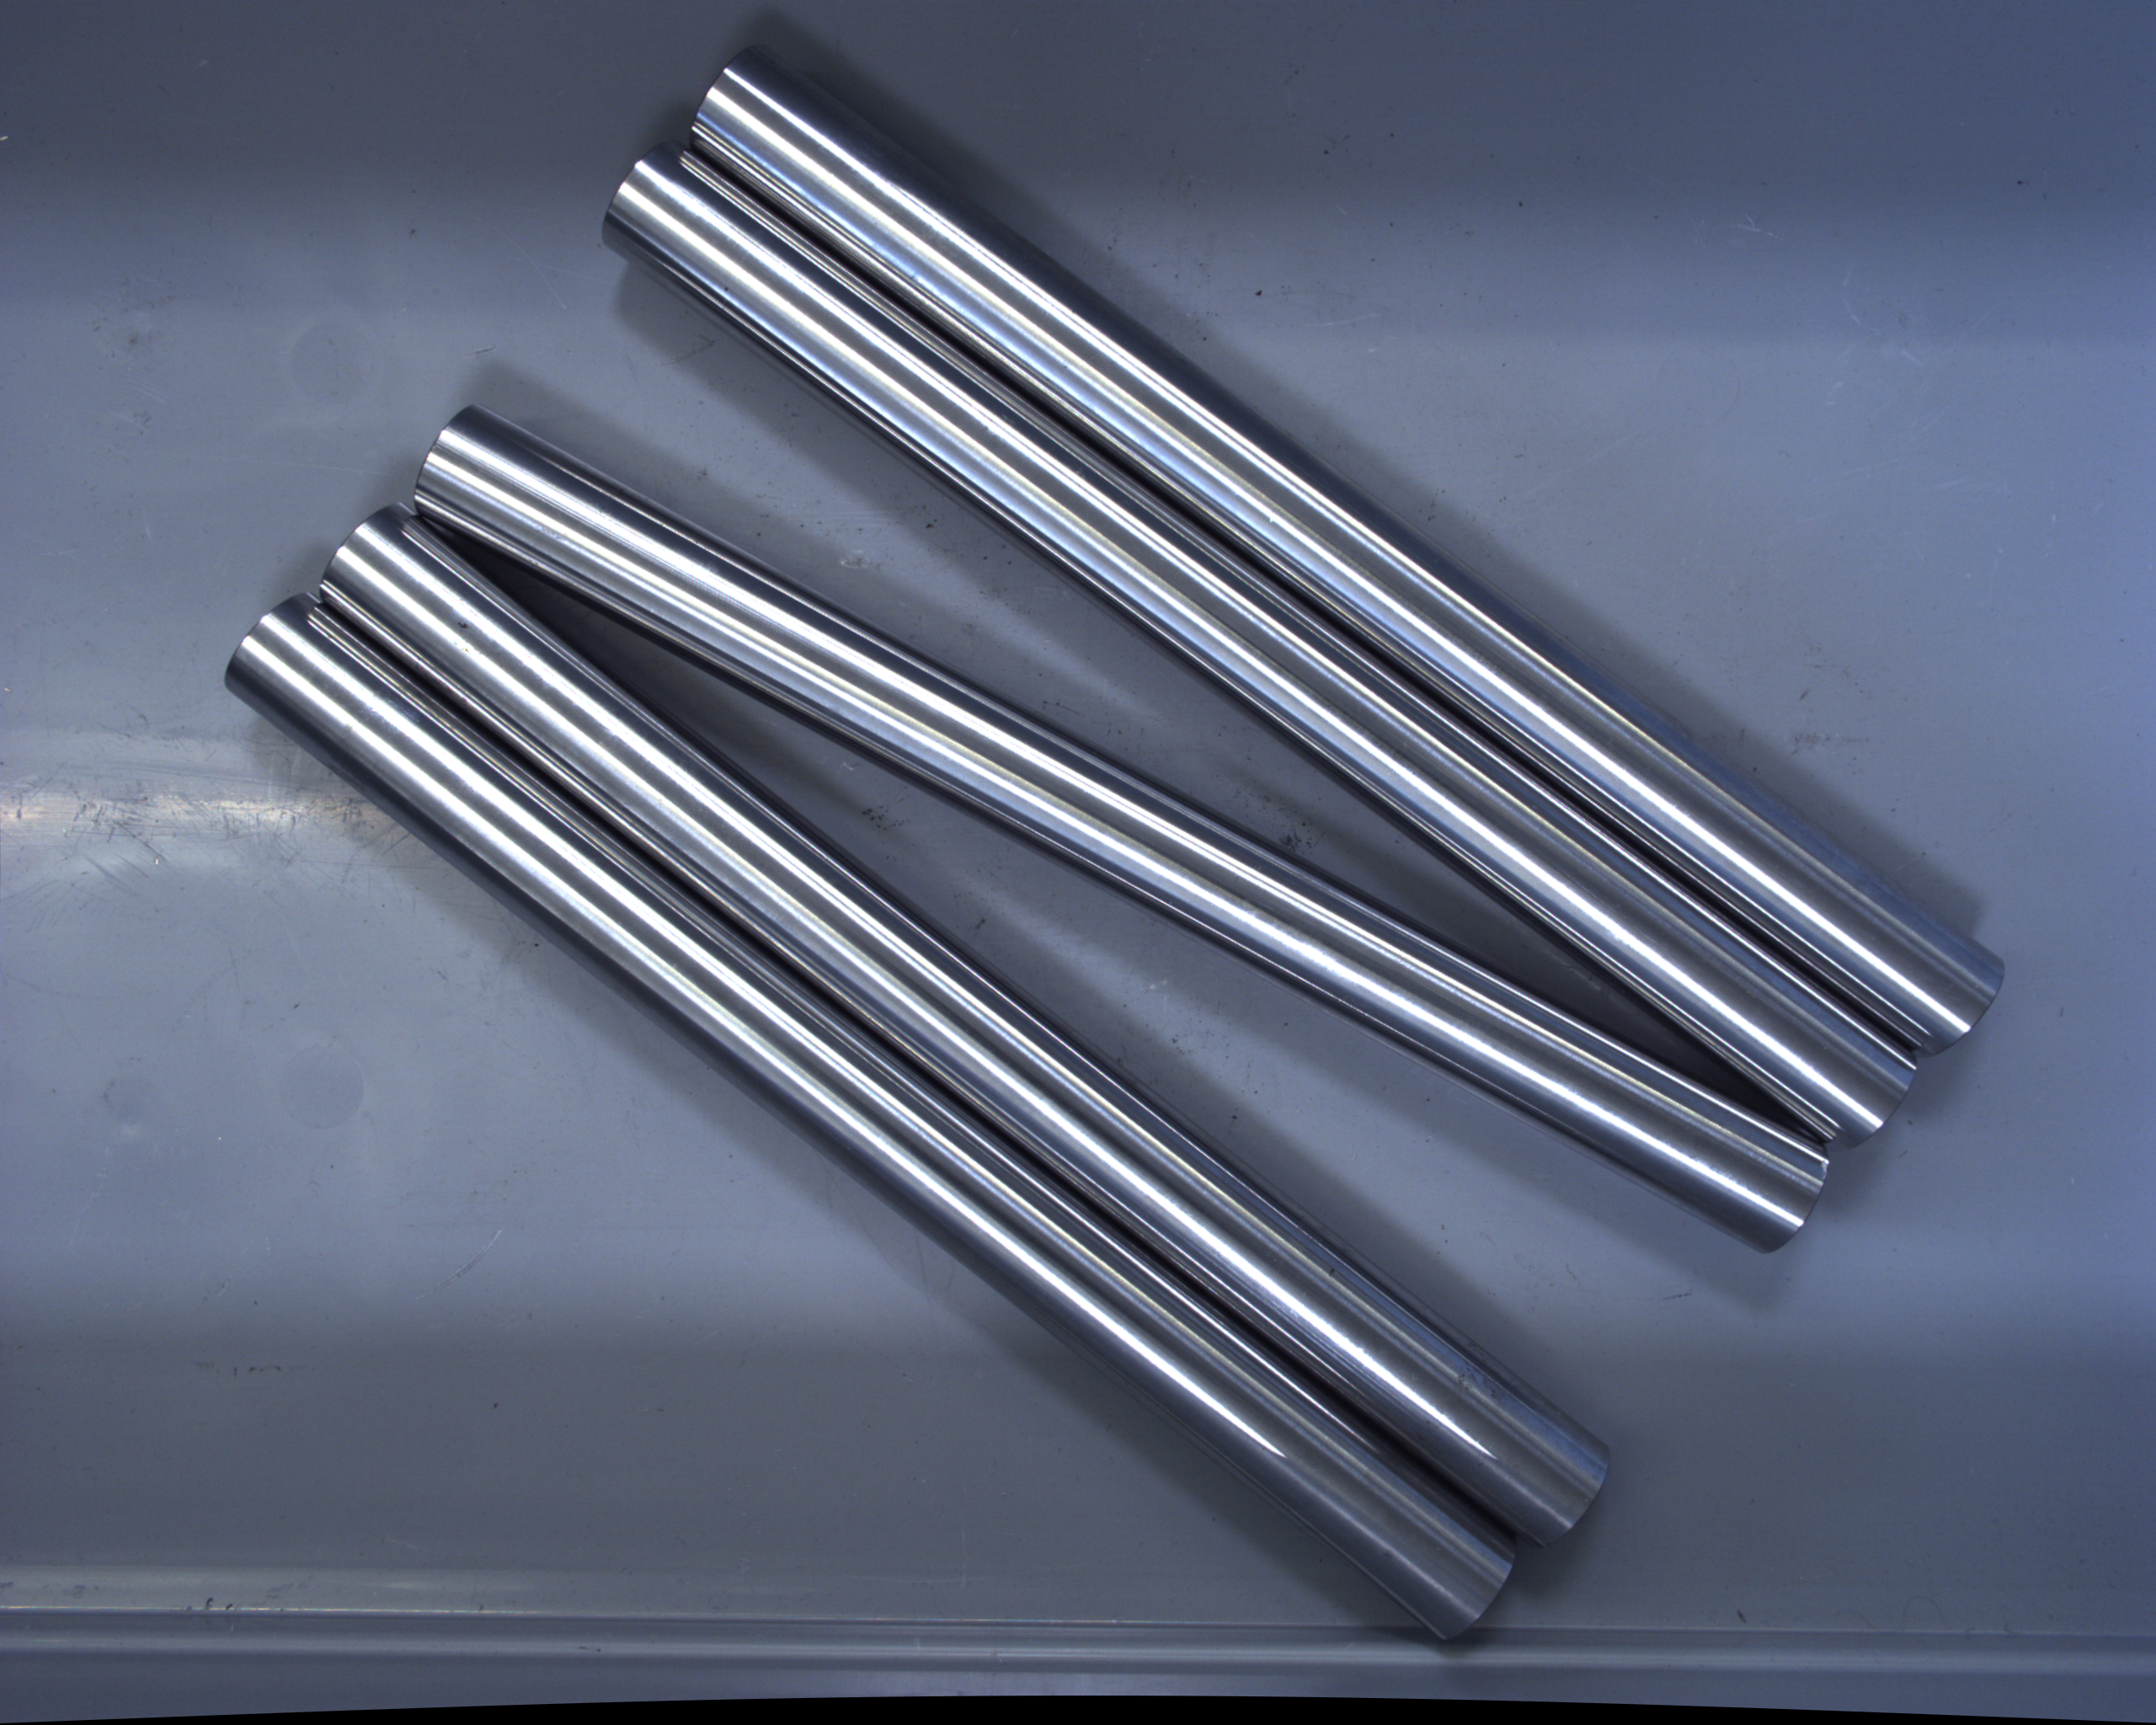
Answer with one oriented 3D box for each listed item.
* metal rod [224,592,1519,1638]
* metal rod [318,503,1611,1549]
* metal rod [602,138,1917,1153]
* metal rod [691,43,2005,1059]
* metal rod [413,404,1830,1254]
[{"bbox_3d":[-0.040,0.049,0.410,0.300,0.025,0.025,38,90,0],"label":"metal rod"},{"bbox_3d":[-0.022,0.032,0.410,0.300,0.025,0.025,38,90,0],"label":"metal rod"},{"bbox_3d":[0.036,-0.042,0.410,0.301,0.025,0.025,36,90,0],"label":"metal rod"},{"bbox_3d":[0.053,-0.061,0.410,0.301,0.025,0.025,36,90,0],"label":"metal rod"},{"bbox_3d":[0.009,-0.006,0.410,0.301,0.025,0.025,29,90,0],"label":"metal rod"}]
